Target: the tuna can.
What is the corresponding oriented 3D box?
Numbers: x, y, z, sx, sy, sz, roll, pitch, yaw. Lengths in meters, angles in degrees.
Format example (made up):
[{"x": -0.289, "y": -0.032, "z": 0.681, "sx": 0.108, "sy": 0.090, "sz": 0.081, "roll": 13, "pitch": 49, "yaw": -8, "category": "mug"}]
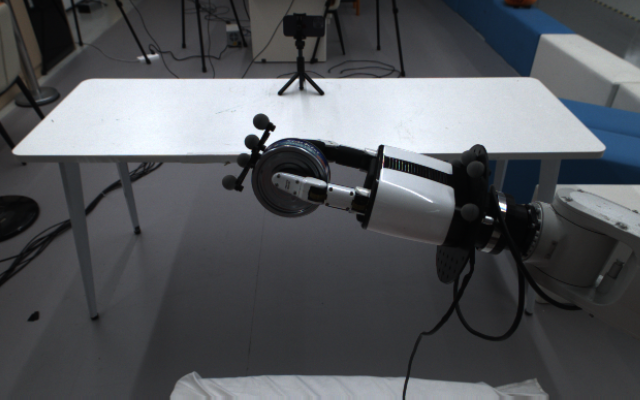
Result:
[{"x": -0.028, "y": -0.021, "z": 0.540, "sx": 0.085, "sy": 0.085, "sz": 0.034, "roll": 3, "pitch": 21, "yaw": 1, "category": "tuna can"}]
